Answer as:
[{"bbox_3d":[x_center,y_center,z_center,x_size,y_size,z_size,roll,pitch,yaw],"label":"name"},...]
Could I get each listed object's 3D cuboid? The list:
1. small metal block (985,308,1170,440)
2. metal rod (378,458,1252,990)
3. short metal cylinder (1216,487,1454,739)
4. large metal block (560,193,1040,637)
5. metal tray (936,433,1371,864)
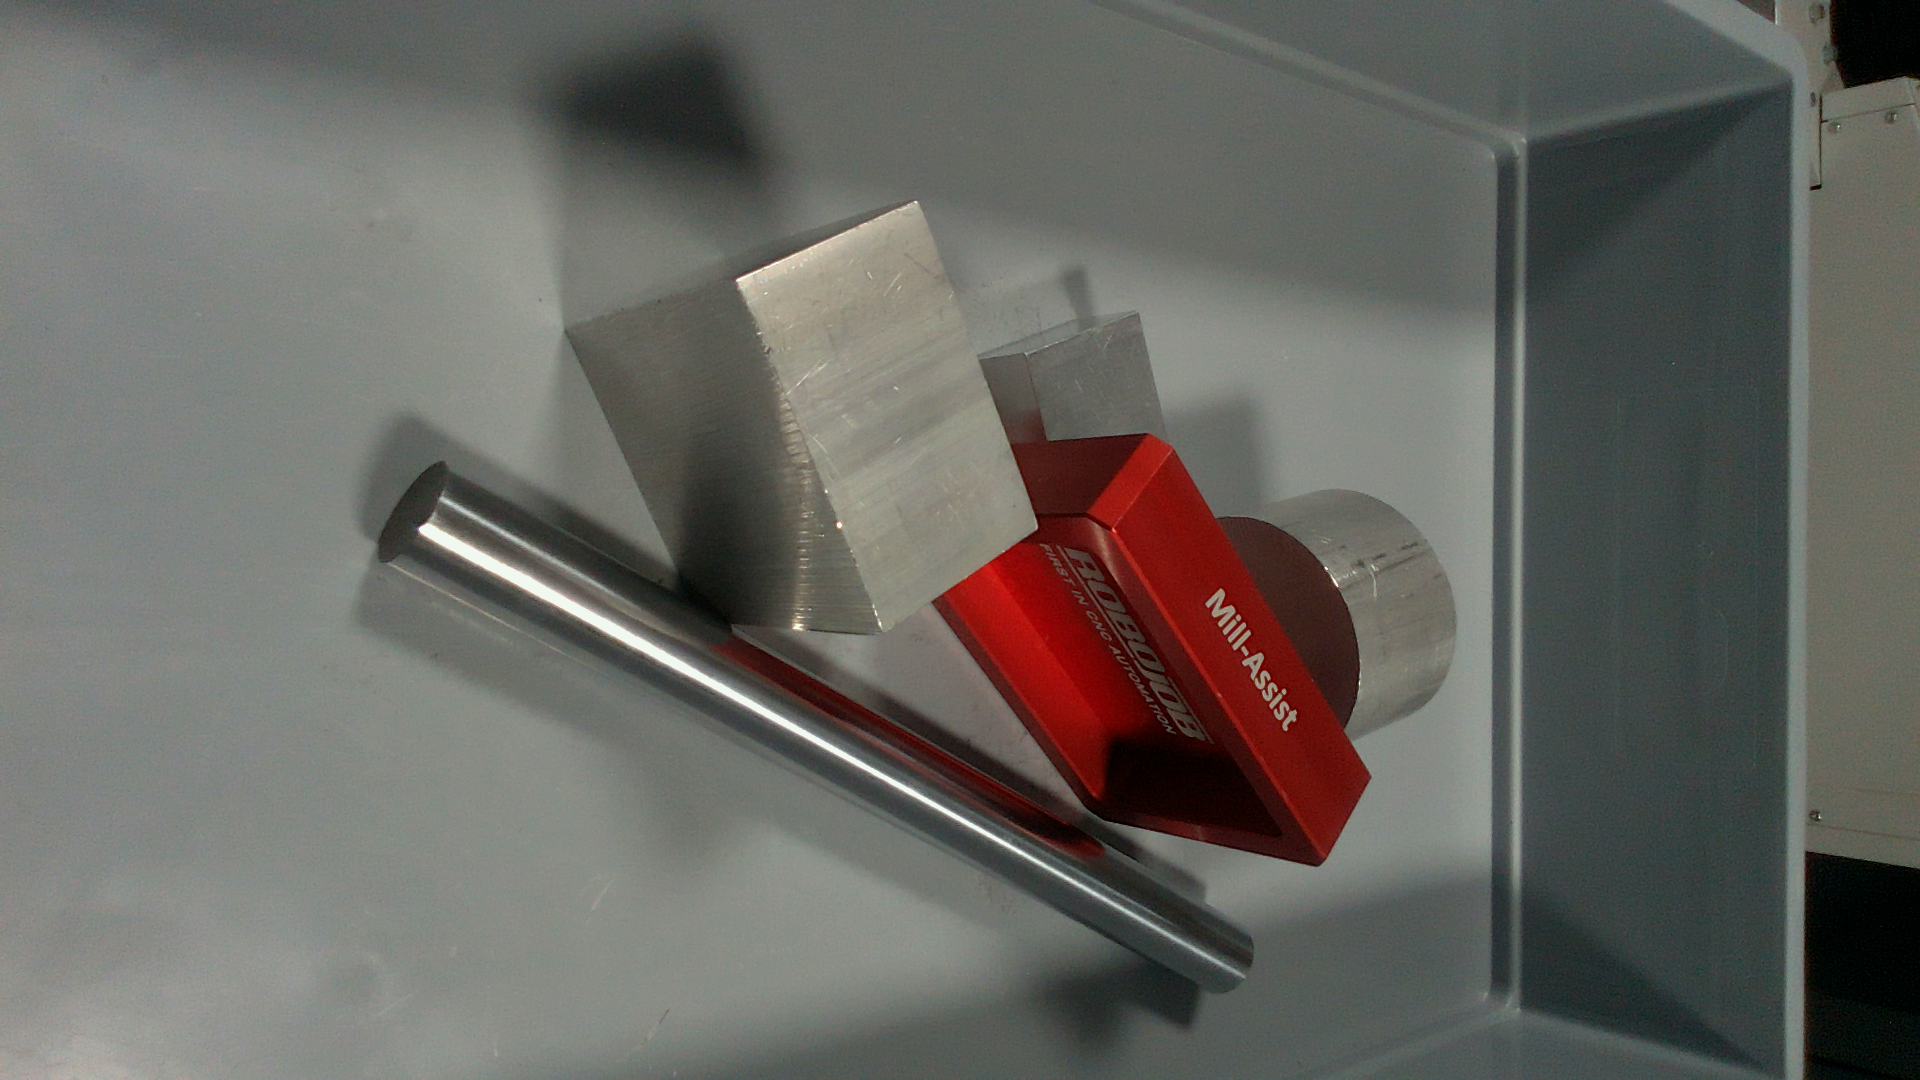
[{"bbox_3d":[0.034,-0.038,0.415,0.050,0.025,0.050,-25,106,-37],"label":"small metal block"},{"bbox_3d":[-0.014,0.066,0.376,0.301,0.025,0.025,35,68,-34],"label":"metal rod"},{"bbox_3d":[0.109,0.027,0.442,0.050,0.080,0.080,-15,99,-38],"label":"short metal cylinder"},{"bbox_3d":[-0.038,-0.027,0.320,0.050,0.080,0.080,-33,110,-35],"label":"large metal block"},{"bbox_3d":[0.046,0.031,0.382,0.030,0.090,0.130,-51,120,-28],"label":"metal tray"}]
